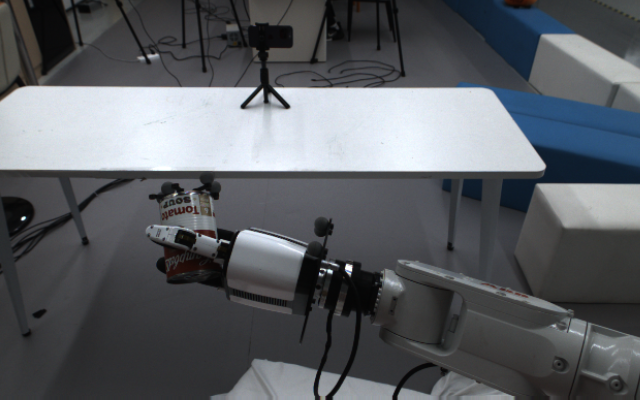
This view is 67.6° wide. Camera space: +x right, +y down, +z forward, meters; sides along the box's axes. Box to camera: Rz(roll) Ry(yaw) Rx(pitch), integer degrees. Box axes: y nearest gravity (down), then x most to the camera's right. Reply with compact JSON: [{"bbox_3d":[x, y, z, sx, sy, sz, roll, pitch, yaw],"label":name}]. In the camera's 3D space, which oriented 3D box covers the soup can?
[{"bbox_3d":[-0.160,0.048,0.600,0.067,0.067,0.101,-8,73,-14],"label":"soup can"}]
